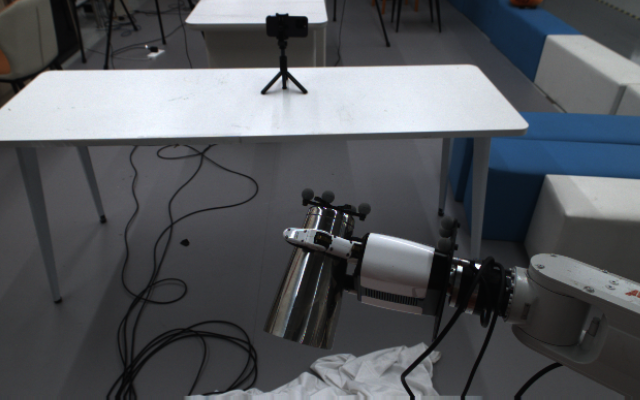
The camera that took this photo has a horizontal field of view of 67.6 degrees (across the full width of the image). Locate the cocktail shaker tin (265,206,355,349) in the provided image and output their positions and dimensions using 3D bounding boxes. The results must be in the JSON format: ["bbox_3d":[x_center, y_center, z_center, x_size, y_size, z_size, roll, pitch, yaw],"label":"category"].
[{"bbox_3d":[-0.004,0.097,0.637,0.093,0.093,0.170,13,77,15],"label":"cocktail shaker tin"}]
